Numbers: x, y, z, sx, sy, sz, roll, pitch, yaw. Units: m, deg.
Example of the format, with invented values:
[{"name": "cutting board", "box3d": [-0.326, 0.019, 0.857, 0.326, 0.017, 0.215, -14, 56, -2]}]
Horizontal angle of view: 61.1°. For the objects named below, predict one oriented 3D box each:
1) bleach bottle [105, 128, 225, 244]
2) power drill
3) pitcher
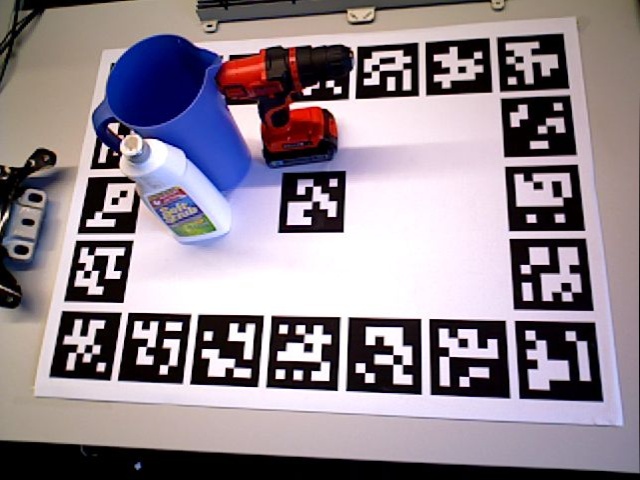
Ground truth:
[{"name": "bleach bottle", "box3d": [-0.206, -0.067, 0.702, 0.103, 0.252, 0.067, -7, 71, 7]}, {"name": "power drill", "box3d": [-0.020, -0.173, 0.731, 0.184, 0.188, 0.057, -4, 74, 2]}, {"name": "pitcher", "box3d": [-0.188, -0.158, 0.747, 0.188, 0.244, 0.133, -26, 71, 1]}]
